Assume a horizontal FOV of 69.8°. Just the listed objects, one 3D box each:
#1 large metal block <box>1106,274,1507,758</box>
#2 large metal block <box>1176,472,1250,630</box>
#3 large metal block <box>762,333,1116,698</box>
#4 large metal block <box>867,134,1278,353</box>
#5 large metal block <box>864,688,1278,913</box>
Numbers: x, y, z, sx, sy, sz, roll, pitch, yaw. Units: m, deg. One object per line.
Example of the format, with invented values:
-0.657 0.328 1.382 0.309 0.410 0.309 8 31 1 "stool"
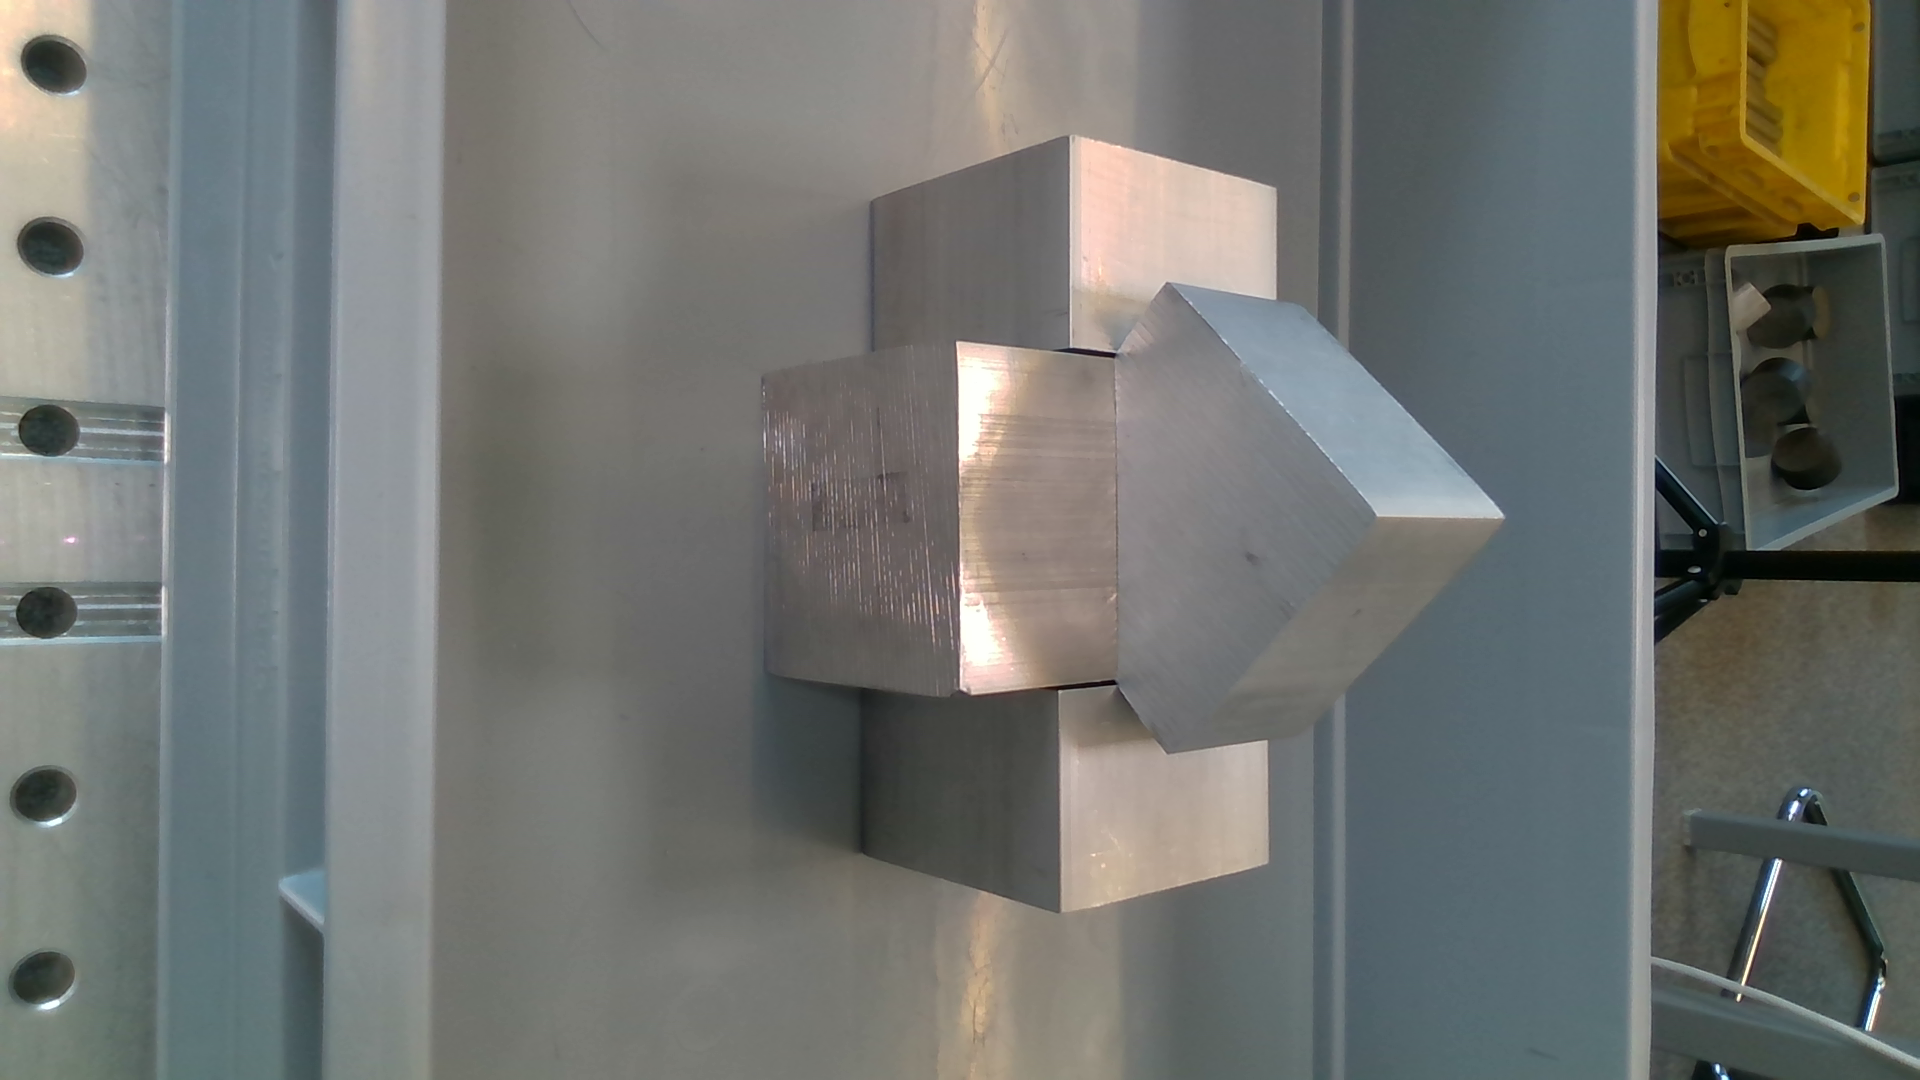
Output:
0.068 -0.006 0.337 0.050 0.080 0.080 -1 135 -40 "large metal block"
0.070 -0.005 0.414 0.050 0.080 0.080 0 90 -40 "large metal block"
-0.007 -0.005 0.348 0.050 0.080 0.080 0 90 -40 "large metal block"
0.030 -0.071 0.381 0.080 0.080 0.050 0 90 -40 "large metal block"
0.030 0.062 0.377 0.080 0.080 0.050 0 90 -40 "large metal block"
